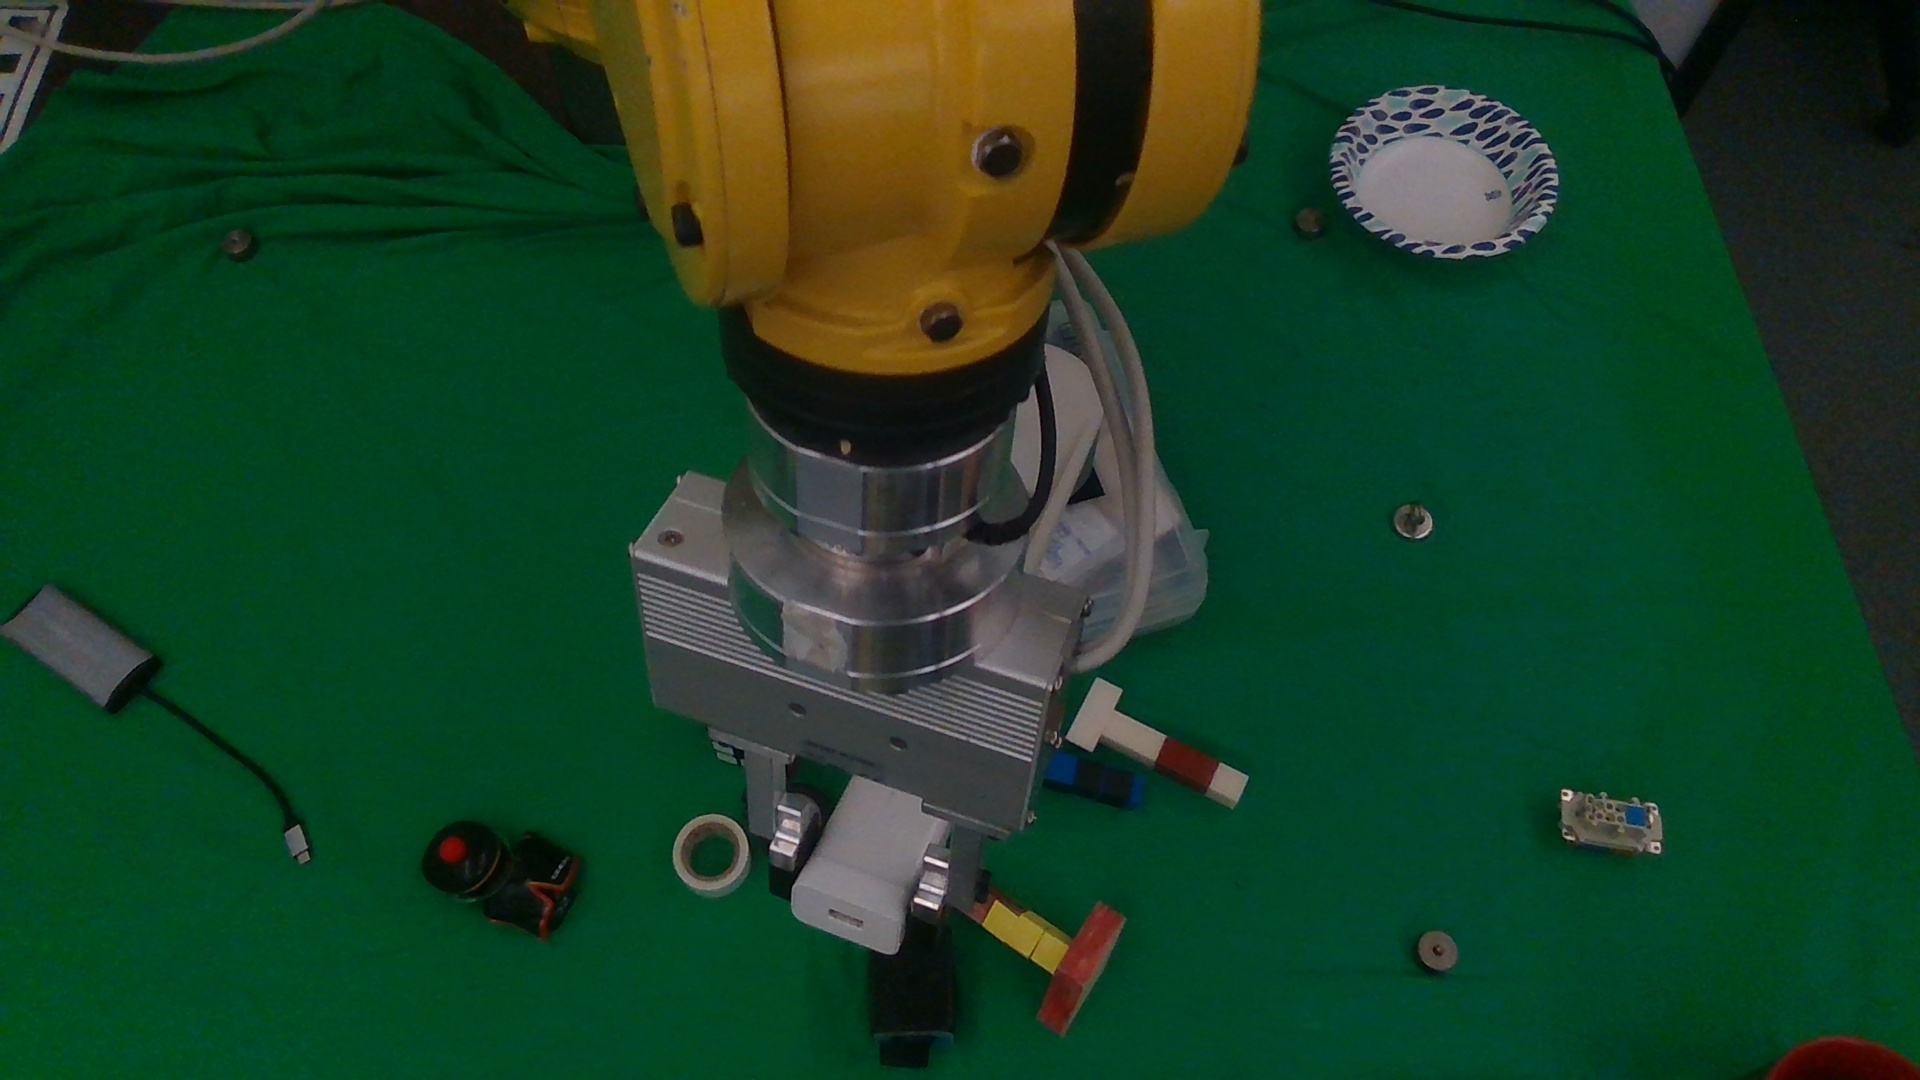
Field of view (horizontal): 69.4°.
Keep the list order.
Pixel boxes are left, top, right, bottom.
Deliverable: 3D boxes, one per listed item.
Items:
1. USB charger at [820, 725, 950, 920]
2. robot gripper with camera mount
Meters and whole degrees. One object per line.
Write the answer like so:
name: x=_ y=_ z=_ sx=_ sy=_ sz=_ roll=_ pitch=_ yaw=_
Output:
USB charger: x=-0.023 y=0.099 z=0.506 sx=0.045 sy=0.029 sz=0.075 roll=0 pitch=48 yaw=8
robot gripper with camera mount: x=-0.003 y=0.008 z=0.493 sx=0.119 sy=0.158 sz=0.193 roll=14 pitch=46 yaw=15
